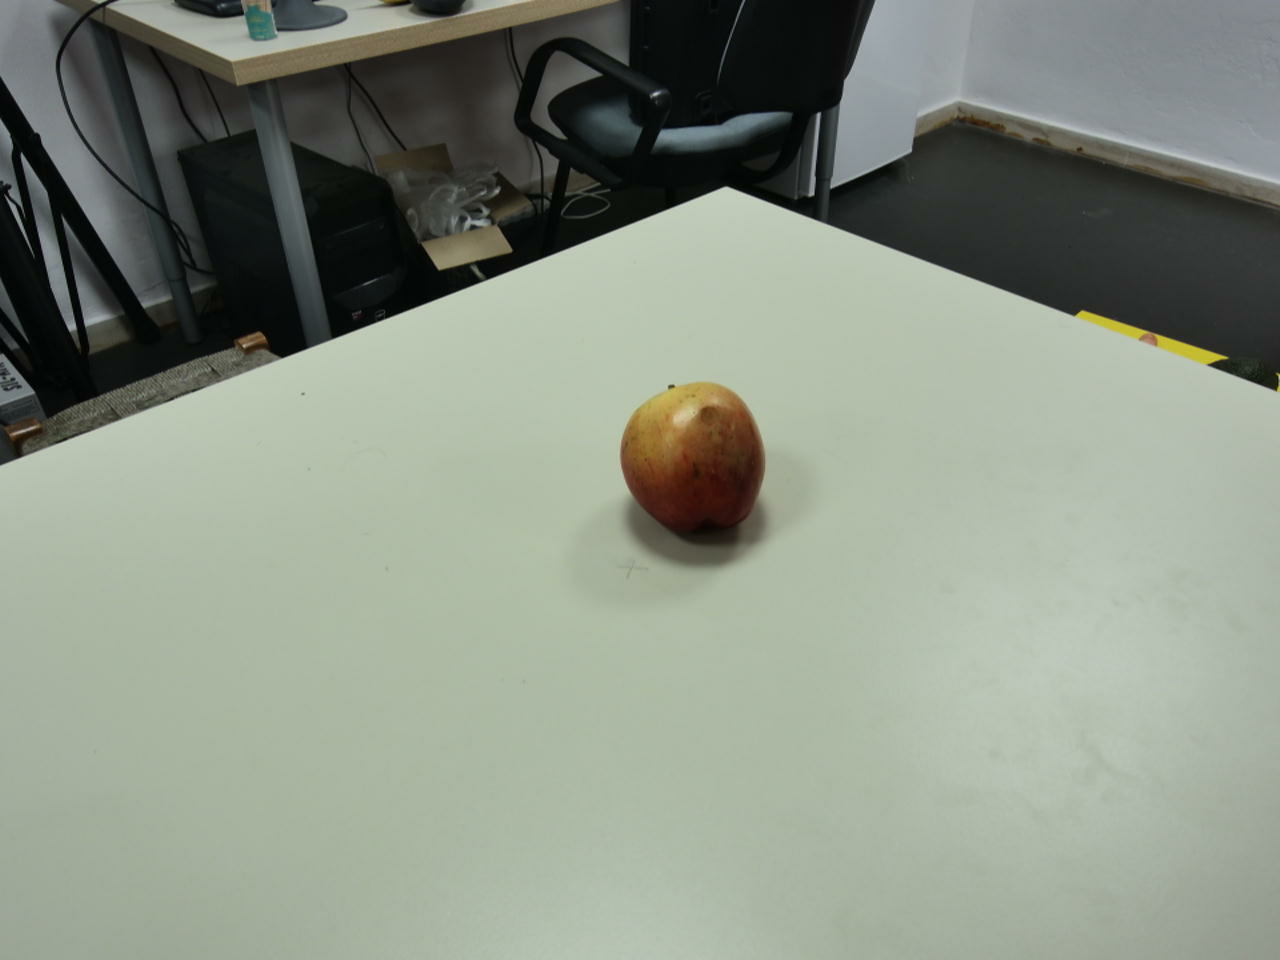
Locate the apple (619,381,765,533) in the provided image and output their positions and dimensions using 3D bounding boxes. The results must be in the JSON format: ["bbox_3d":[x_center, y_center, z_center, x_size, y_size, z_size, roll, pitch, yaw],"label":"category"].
[{"bbox_3d":[0.032,-0.016,0.592,0.086,0.084,0.093,8,37,10],"label":"apple"}]
